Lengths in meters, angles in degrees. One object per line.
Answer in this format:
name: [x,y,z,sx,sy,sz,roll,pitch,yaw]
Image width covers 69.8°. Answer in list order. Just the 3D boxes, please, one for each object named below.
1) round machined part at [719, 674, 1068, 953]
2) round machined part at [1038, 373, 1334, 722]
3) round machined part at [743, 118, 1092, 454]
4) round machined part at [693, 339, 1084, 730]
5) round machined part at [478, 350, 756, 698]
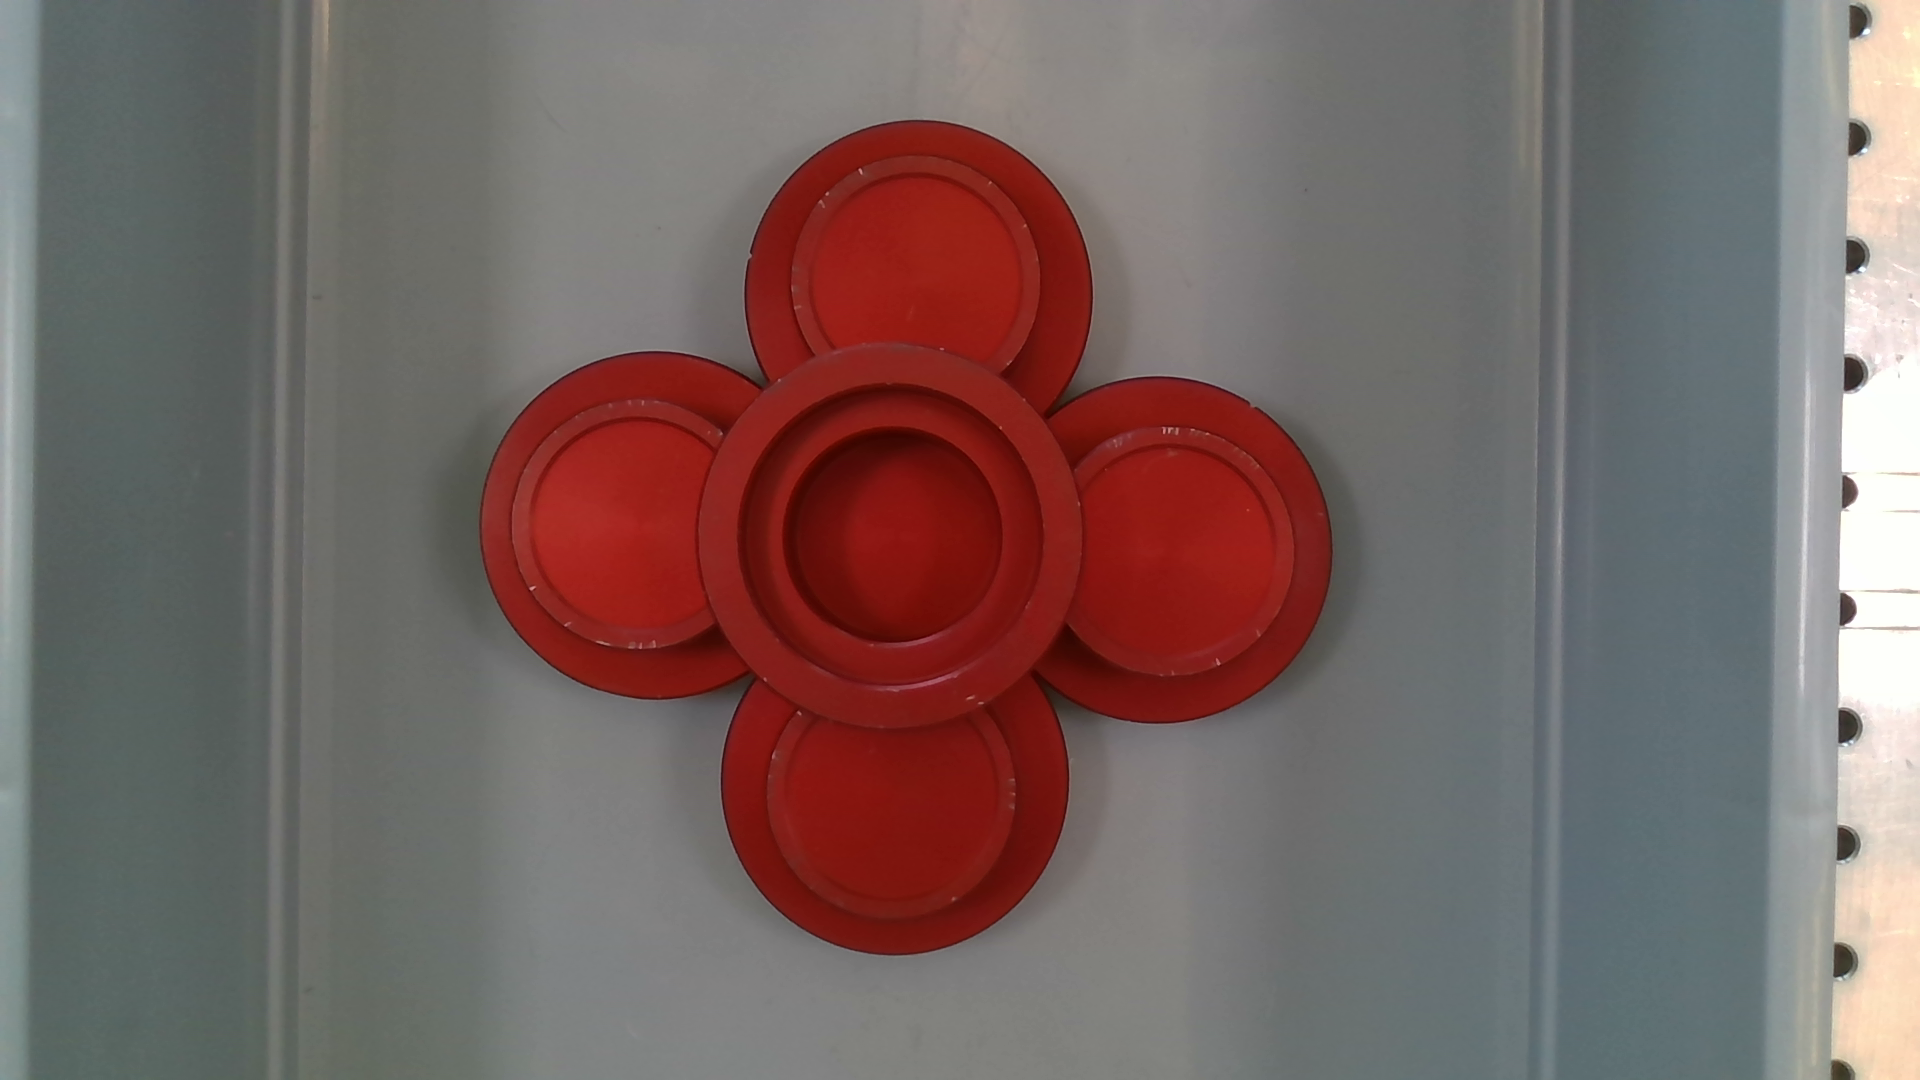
round machined part: [-0.019,0.067,0.385,0.098,0.042,0.098,0,90,0]
round machined part: [0.056,0.002,0.384,0.098,0.042,0.098,0,90,0]
round machined part: [-0.012,-0.069,0.385,0.098,0.042,0.098,0,90,0]
round machined part: [-0.018,-0.001,0.364,0.098,0.042,0.098,0,90,0]
round machined part: [-0.086,-0.004,0.385,0.098,0.042,0.098,0,91,-2]
